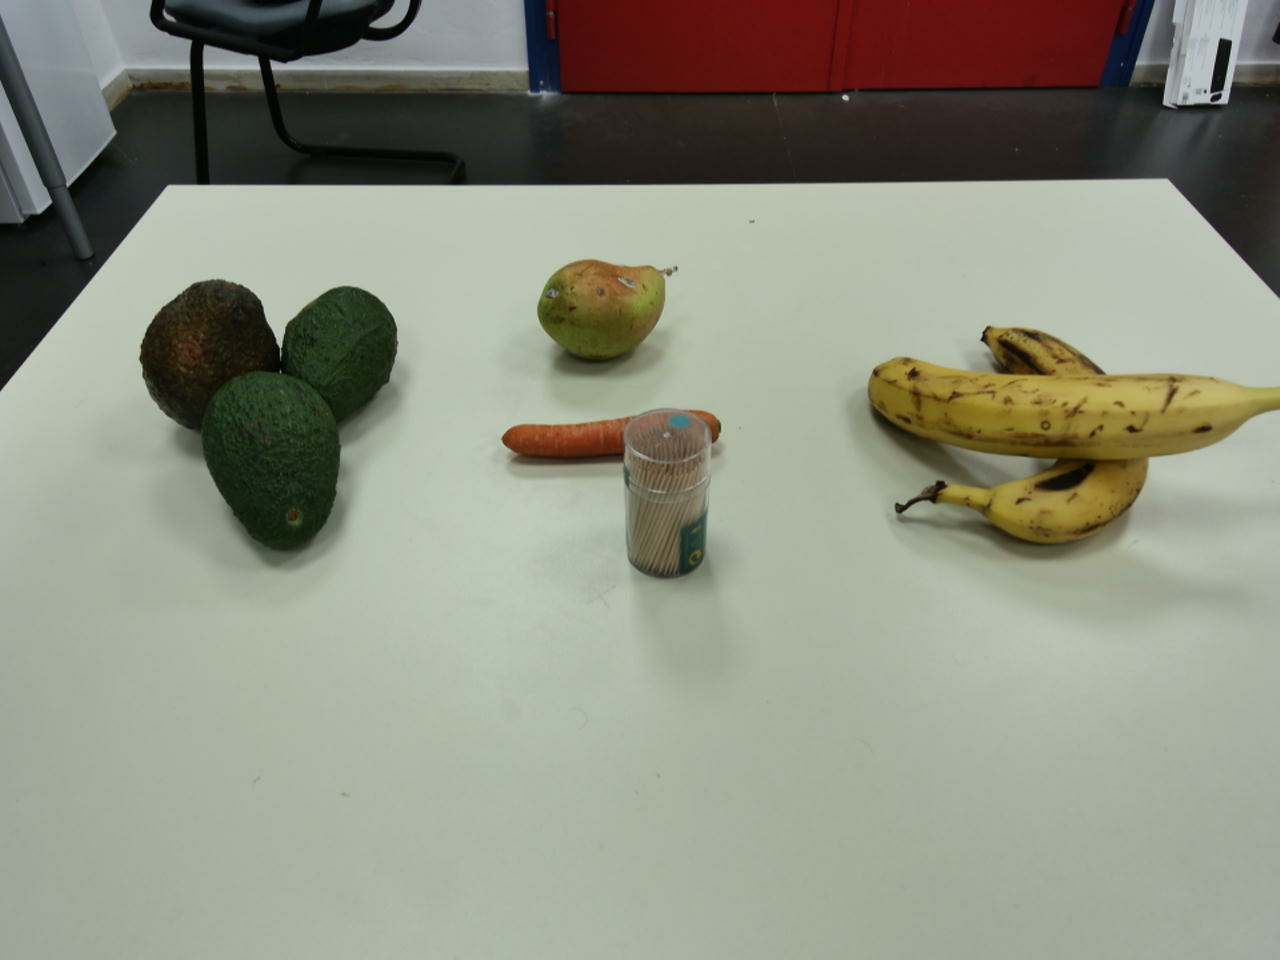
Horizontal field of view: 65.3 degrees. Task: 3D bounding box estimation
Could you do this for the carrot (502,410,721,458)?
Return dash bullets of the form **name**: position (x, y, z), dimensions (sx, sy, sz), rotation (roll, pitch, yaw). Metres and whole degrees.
- **carrot**: position (-0.015, -0.026, 0.557), dimensions (0.122, 0.023, 0.024), rotation (-2, 39, -2)
